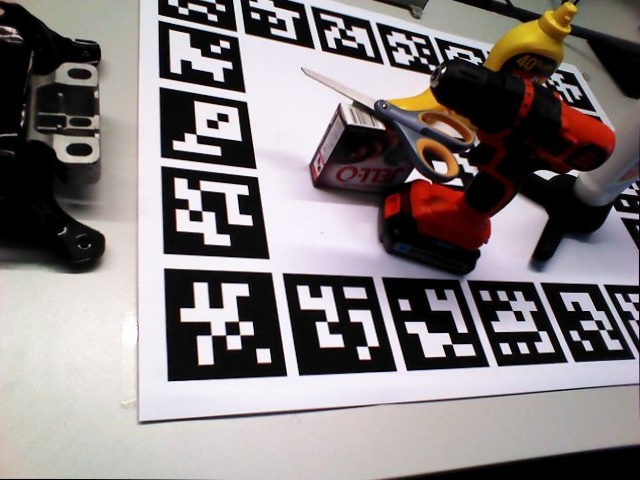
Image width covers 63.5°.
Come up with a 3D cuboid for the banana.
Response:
[{"bbox_3d":[0.161,-0.200,0.714,0.074,0.039,0.196,34,49,20],"label":"banana"}]

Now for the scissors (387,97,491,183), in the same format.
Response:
[{"bbox_3d":[0.087,-0.129,0.521,0.203,0.016,0.087,28,55,-13],"label":"scissors"}]

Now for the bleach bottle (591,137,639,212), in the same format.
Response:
[{"bbox_3d":[0.426,-0.113,0.639,0.102,0.252,0.068,-18,64,-26],"label":"bleach bottle"}]

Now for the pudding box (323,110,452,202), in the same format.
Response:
[{"bbox_3d":[0.072,-0.090,0.571,0.113,0.090,0.038,8,50,-22],"label":"pudding box"}]

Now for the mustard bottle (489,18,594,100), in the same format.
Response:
[{"bbox_3d":[0.287,-0.215,0.700,0.096,0.193,0.058,17,53,-17],"label":"mustard bottle"}]

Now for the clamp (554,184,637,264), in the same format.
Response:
[{"bbox_3d":[0.357,-0.048,0.699,0.202,0.037,0.165,-2,62,-29],"label":"clamp"}]

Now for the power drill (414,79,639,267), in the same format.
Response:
[{"bbox_3d":[0.168,-0.053,0.494,0.184,0.188,0.057,14,47,-14],"label":"power drill"}]
